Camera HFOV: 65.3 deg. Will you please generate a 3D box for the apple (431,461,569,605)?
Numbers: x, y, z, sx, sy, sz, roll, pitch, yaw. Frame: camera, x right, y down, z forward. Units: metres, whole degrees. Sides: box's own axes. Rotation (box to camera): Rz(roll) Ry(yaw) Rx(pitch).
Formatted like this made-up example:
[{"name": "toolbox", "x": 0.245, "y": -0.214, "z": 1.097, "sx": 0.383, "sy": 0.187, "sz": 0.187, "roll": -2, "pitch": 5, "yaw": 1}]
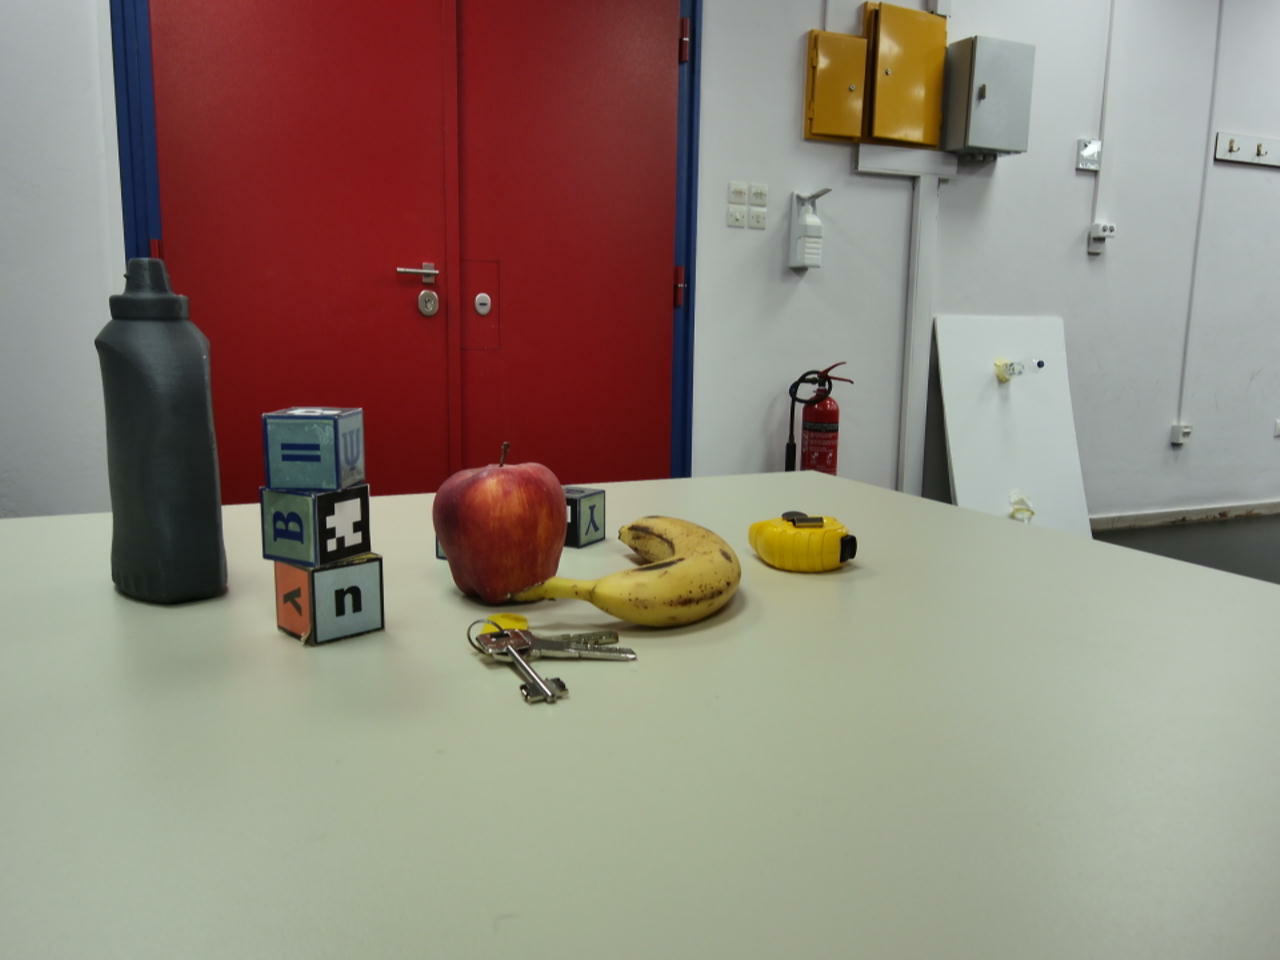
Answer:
[{"name": "apple", "x": -0.081, "y": 0.024, "z": 0.581, "sx": 0.083, "sy": 0.090, "sz": 0.083, "roll": 0, "pitch": 7, "yaw": 0}]
